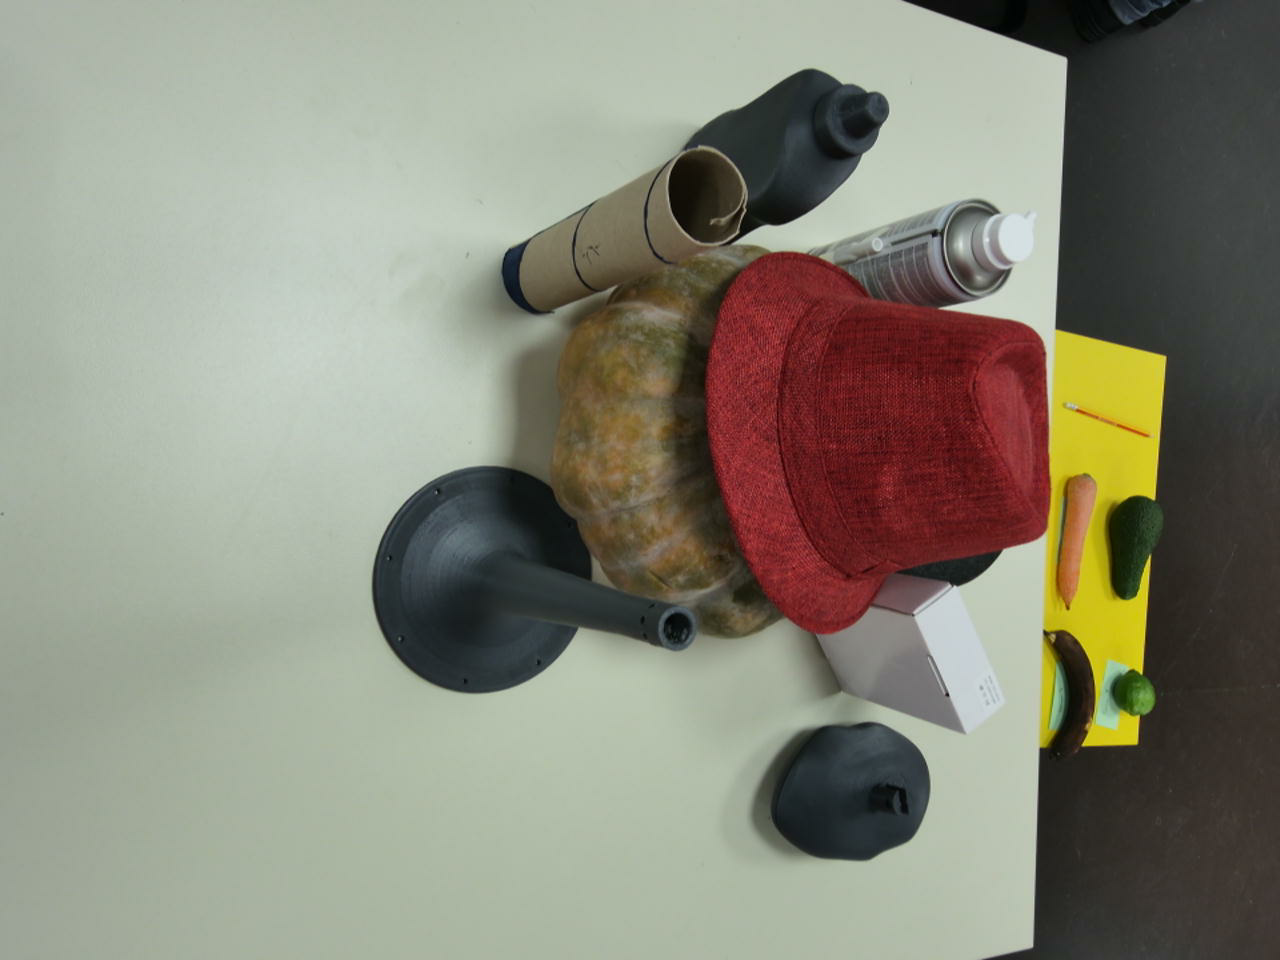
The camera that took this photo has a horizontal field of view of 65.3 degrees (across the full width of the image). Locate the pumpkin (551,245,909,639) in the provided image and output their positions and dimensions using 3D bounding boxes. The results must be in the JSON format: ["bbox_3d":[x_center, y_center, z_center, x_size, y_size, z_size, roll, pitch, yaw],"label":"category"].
[{"bbox_3d":[0.059,-0.030,0.654,0.252,0.169,0.252,0,91,-29],"label":"pumpkin"}]
